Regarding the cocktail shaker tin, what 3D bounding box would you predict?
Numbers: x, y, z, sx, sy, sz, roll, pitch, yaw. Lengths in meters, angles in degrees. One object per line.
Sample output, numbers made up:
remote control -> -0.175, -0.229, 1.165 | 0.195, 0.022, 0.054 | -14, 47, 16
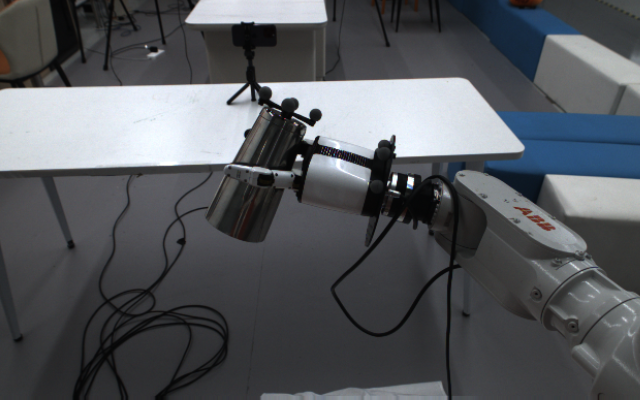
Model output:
cocktail shaker tin -> -0.081, -0.040, 0.668 | 0.093, 0.170, 0.093 | 24, 13, -6
